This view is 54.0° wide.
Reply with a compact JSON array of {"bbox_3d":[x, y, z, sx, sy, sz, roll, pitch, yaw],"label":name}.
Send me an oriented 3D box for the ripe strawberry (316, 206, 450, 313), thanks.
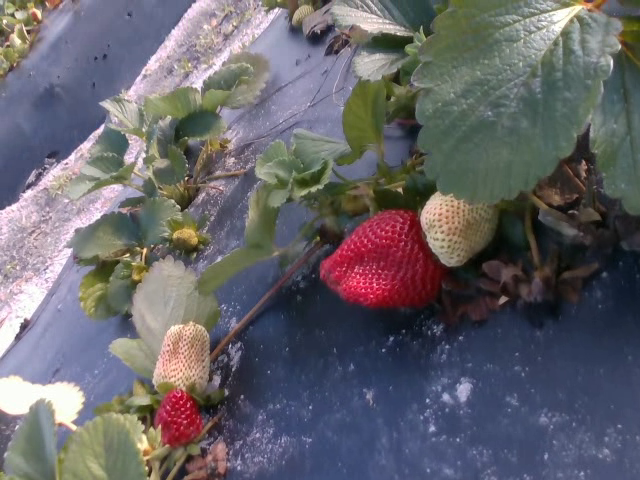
[{"bbox_3d":[0.030,0.013,0.309,0.070,0.058,0.057,-12,-25,-18],"label":"ripe strawberry"}]
